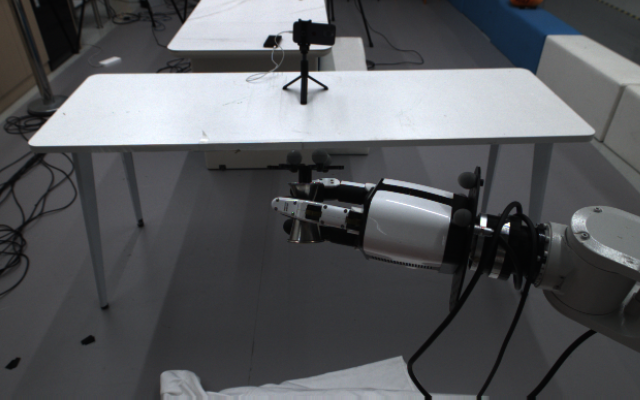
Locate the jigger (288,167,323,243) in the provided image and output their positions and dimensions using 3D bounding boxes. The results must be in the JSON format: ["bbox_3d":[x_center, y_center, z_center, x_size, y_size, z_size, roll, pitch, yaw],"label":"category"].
[{"bbox_3d":[-0.016,0.014,0.562,0.043,0.071,0.043,-1,2,0],"label":"jigger"}]
